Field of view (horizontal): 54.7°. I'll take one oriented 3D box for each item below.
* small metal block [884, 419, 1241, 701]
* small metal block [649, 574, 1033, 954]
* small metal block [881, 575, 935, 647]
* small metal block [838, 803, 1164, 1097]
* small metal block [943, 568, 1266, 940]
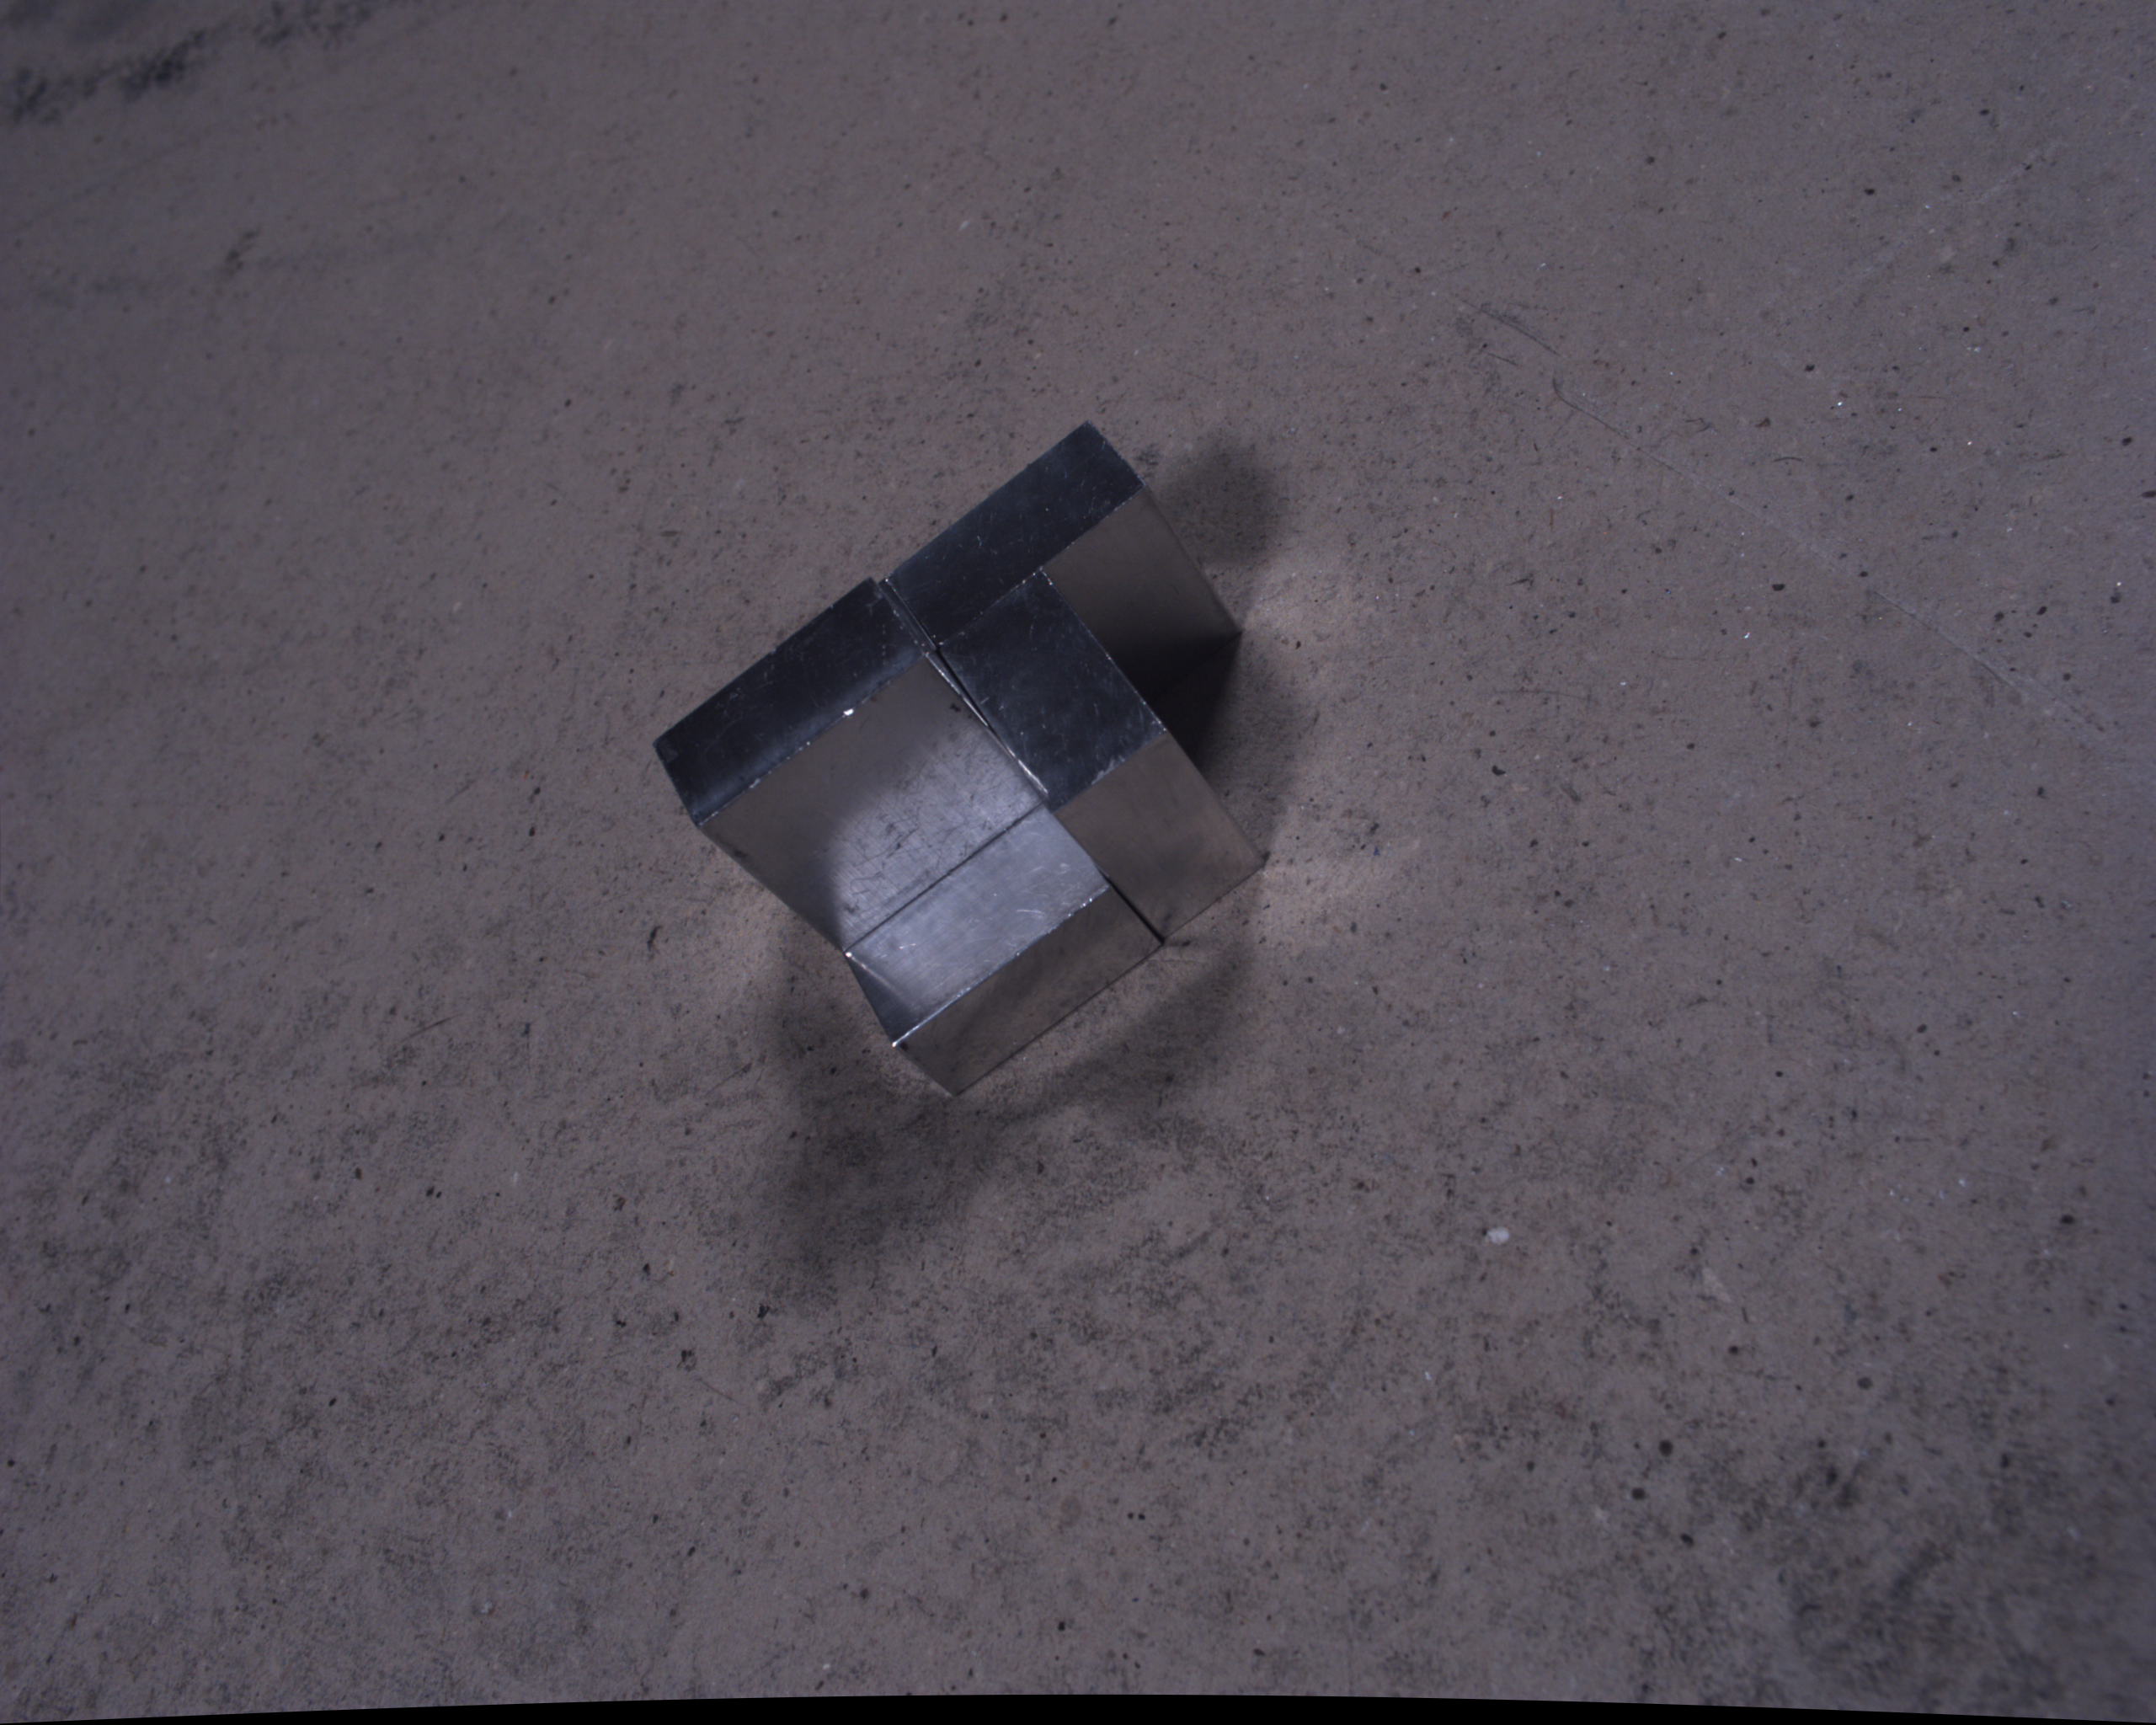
[{"bbox_3d":[-0.002,-0.052,0.421,0.050,0.050,0.025,-37,51,3],"label":"small metal block"},{"bbox_3d":[-0.042,-0.017,0.388,0.050,0.050,0.025,-37,51,3],"label":"small metal block"},{"bbox_3d":[-0.042,-0.022,0.423,0.050,0.050,0.025,-37,51,3],"label":"small metal block"},{"bbox_3d":[-0.020,0.009,0.409,0.050,0.025,0.050,-36,51,3],"label":"small metal block"},{"bbox_3d":[0.005,-0.020,0.398,0.025,0.050,0.050,-37,51,3],"label":"small metal block"}]
